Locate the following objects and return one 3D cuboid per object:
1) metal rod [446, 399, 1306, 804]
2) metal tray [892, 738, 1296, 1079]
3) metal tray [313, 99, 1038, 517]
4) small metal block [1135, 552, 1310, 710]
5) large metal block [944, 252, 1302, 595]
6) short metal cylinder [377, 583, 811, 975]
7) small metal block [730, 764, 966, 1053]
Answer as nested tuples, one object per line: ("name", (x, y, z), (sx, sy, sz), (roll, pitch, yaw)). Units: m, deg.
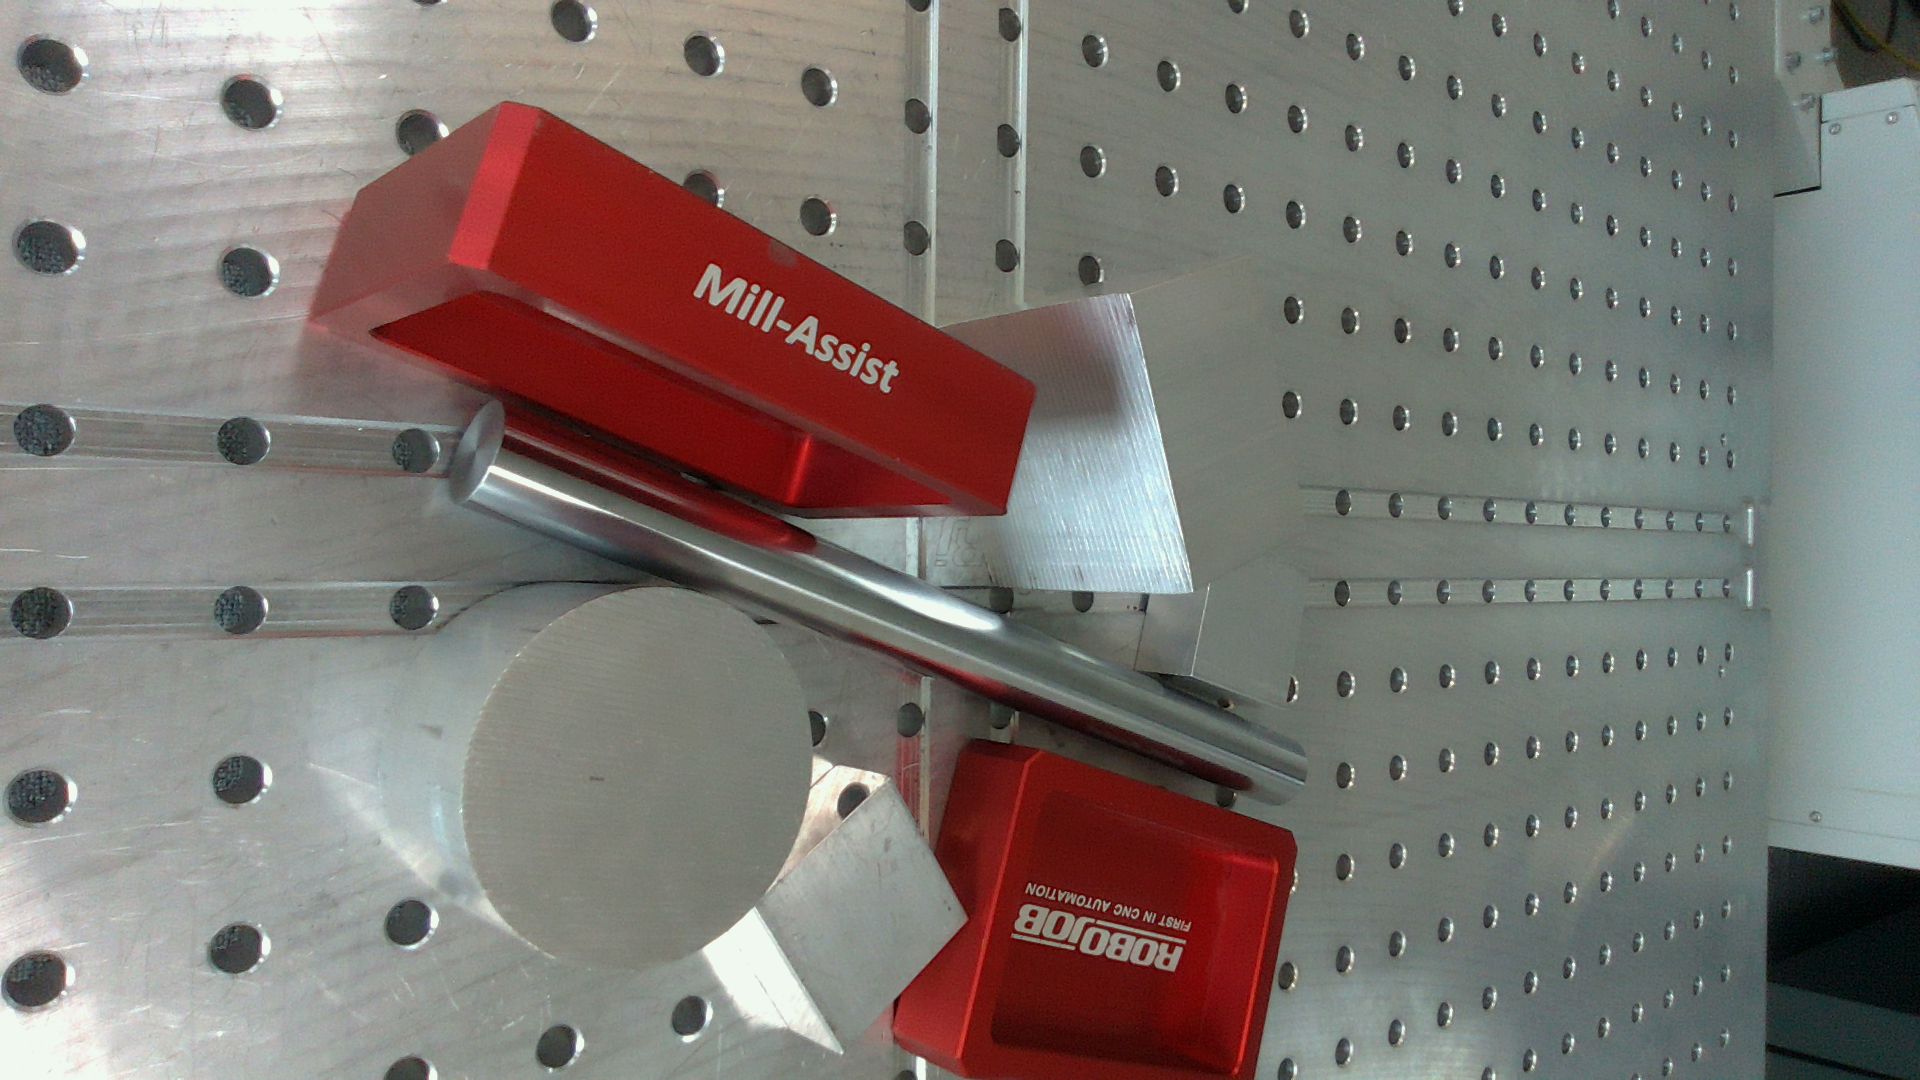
("metal rod", (0.002, 0.031, 0.393), (0.301, 0.025, 0.025), (25, 75, -37))
("metal tray", (0.047, 0.121, 0.427), (0.130, 0.030, 0.090), (23, 76, -38))
("metal tray", (-0.059, -0.040, 0.299), (0.130, 0.090, 0.030), (24, 75, -37))
("small metal block", (0.089, 0.027, 0.466), (0.050, 0.025, 0.050), (22, 76, -38))
("large metal block", (0.042, -0.032, 0.393), (0.050, 0.080, 0.080), (-24, 105, -37))
("short metal cylinder", (-0.081, 0.050, 0.307), (0.080, 0.050, 0.080), (0, 90, -40))
("small metal block", (-0.033, 0.096, 0.365), (0.050, 0.025, 0.050), (-40, 114, -33))
